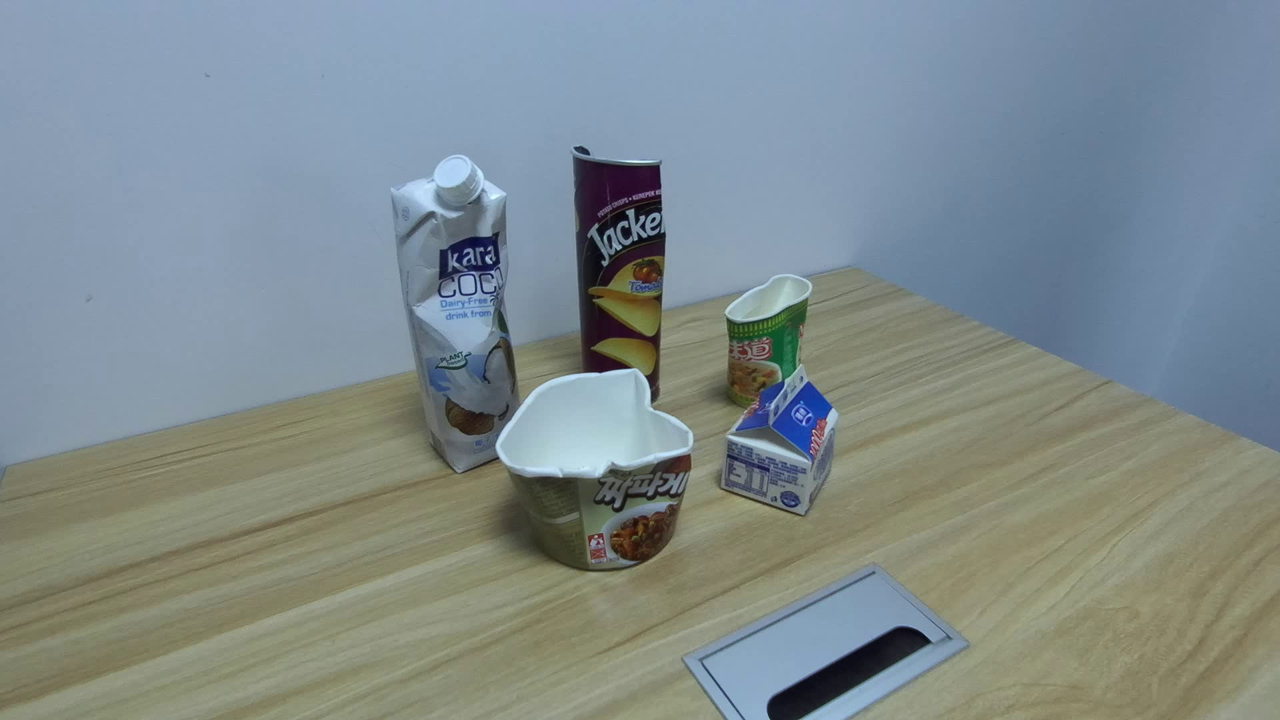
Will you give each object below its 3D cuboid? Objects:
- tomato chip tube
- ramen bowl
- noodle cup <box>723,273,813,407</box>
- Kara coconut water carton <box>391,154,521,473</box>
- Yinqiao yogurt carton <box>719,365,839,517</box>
[{"bbox_3d":[-0.018,-0.071,0.650,0.076,0.235,0.077,-4,27,-6],"label":"tomato chip tube"},{"bbox_3d":[-0.035,0.081,0.512,0.134,0.097,0.113,-12,33,-24],"label":"ramen bowl"},{"bbox_3d":[0.119,-0.013,0.668,0.115,0.111,0.070,-17,32,-29],"label":"noodle cup"},{"bbox_3d":[-0.144,-0.036,0.567,0.083,0.256,0.078,-12,31,-21],"label":"Kara coconut water carton"},{"bbox_3d":[0.112,0.058,0.558,0.073,0.092,0.076,14,32,26],"label":"Yinqiao yogurt carton"}]
